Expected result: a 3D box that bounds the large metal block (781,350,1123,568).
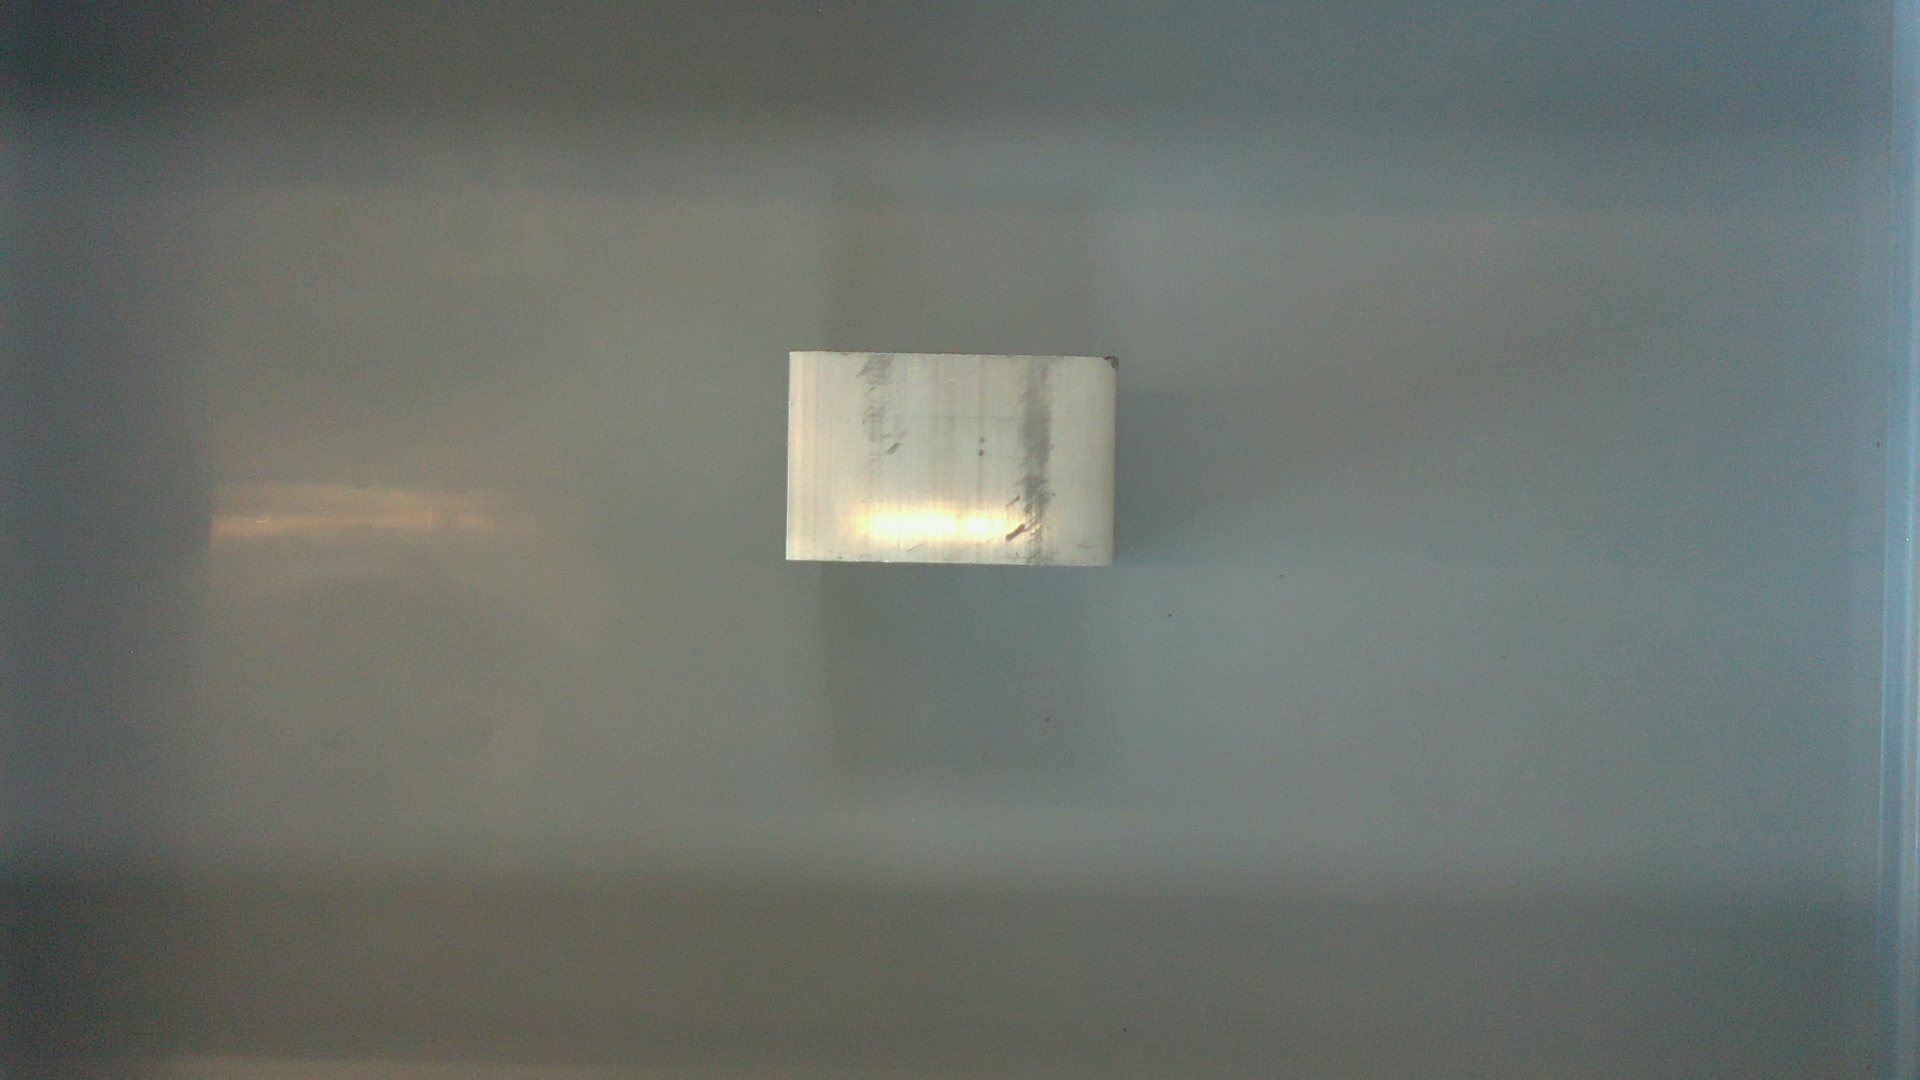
[{"bbox_3d":[-0.002,-0.019,0.366,0.080,0.080,0.050,1,90,0],"label":"large metal block"}]
